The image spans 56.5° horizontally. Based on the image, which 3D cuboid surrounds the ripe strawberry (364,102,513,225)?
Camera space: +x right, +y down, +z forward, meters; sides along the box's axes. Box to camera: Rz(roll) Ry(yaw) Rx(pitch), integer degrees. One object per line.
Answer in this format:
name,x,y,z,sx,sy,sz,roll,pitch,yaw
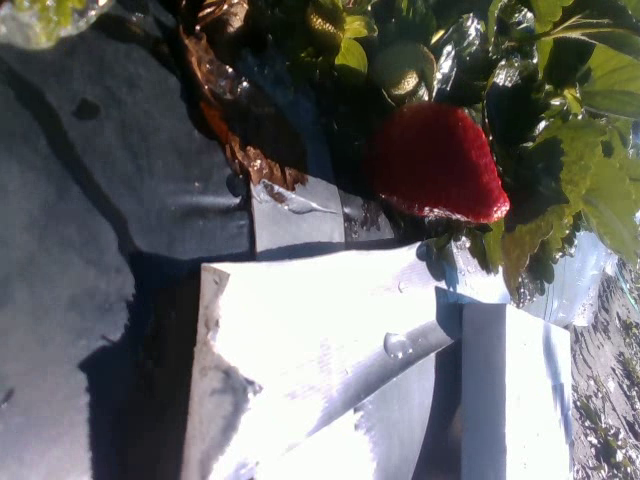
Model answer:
ripe strawberry,0.053,-0.021,0.234,0.057,0.062,0.065,-30,41,-5
